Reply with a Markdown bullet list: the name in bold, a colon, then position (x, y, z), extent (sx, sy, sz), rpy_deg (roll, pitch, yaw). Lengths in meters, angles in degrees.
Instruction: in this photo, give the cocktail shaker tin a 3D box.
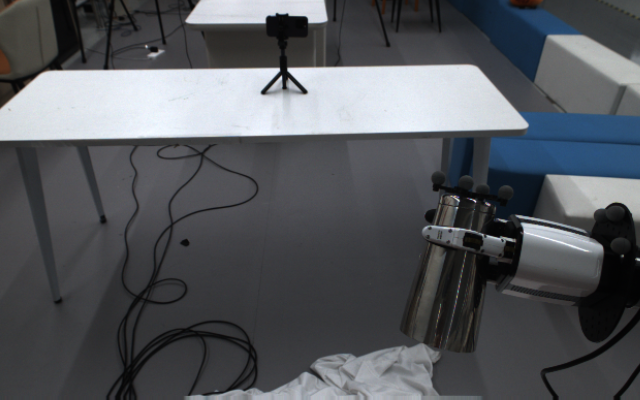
- **cocktail shaker tin**: position (0.164, 0.081, 0.584), extent (0.093, 0.170, 0.093), rpy_deg (13, 1, 0)
